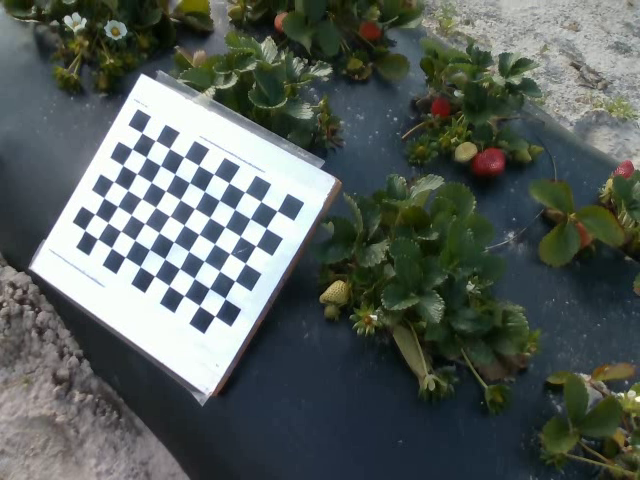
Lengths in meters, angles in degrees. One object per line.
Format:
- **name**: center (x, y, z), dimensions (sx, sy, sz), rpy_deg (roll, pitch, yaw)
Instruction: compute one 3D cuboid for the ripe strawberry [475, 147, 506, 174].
- **ripe strawberry**: center (0.249, -0.108, 0.904), dimensions (0.051, 0.048, 0.055), rpy_deg (-28, 20, 10)
